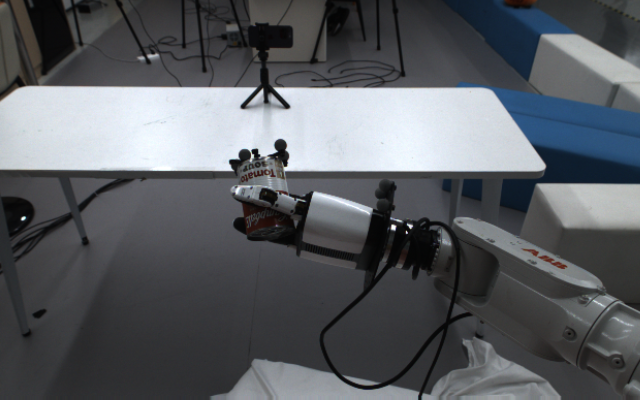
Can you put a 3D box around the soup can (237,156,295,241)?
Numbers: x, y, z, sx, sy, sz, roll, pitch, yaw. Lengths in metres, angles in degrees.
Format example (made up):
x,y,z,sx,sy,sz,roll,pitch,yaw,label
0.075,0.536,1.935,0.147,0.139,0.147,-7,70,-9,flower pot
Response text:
x,y,z,sx,sy,sz,roll,pitch,yaw,label
-0.074,0.000,0.668,0.067,0.067,0.101,-8,74,-14,soup can
